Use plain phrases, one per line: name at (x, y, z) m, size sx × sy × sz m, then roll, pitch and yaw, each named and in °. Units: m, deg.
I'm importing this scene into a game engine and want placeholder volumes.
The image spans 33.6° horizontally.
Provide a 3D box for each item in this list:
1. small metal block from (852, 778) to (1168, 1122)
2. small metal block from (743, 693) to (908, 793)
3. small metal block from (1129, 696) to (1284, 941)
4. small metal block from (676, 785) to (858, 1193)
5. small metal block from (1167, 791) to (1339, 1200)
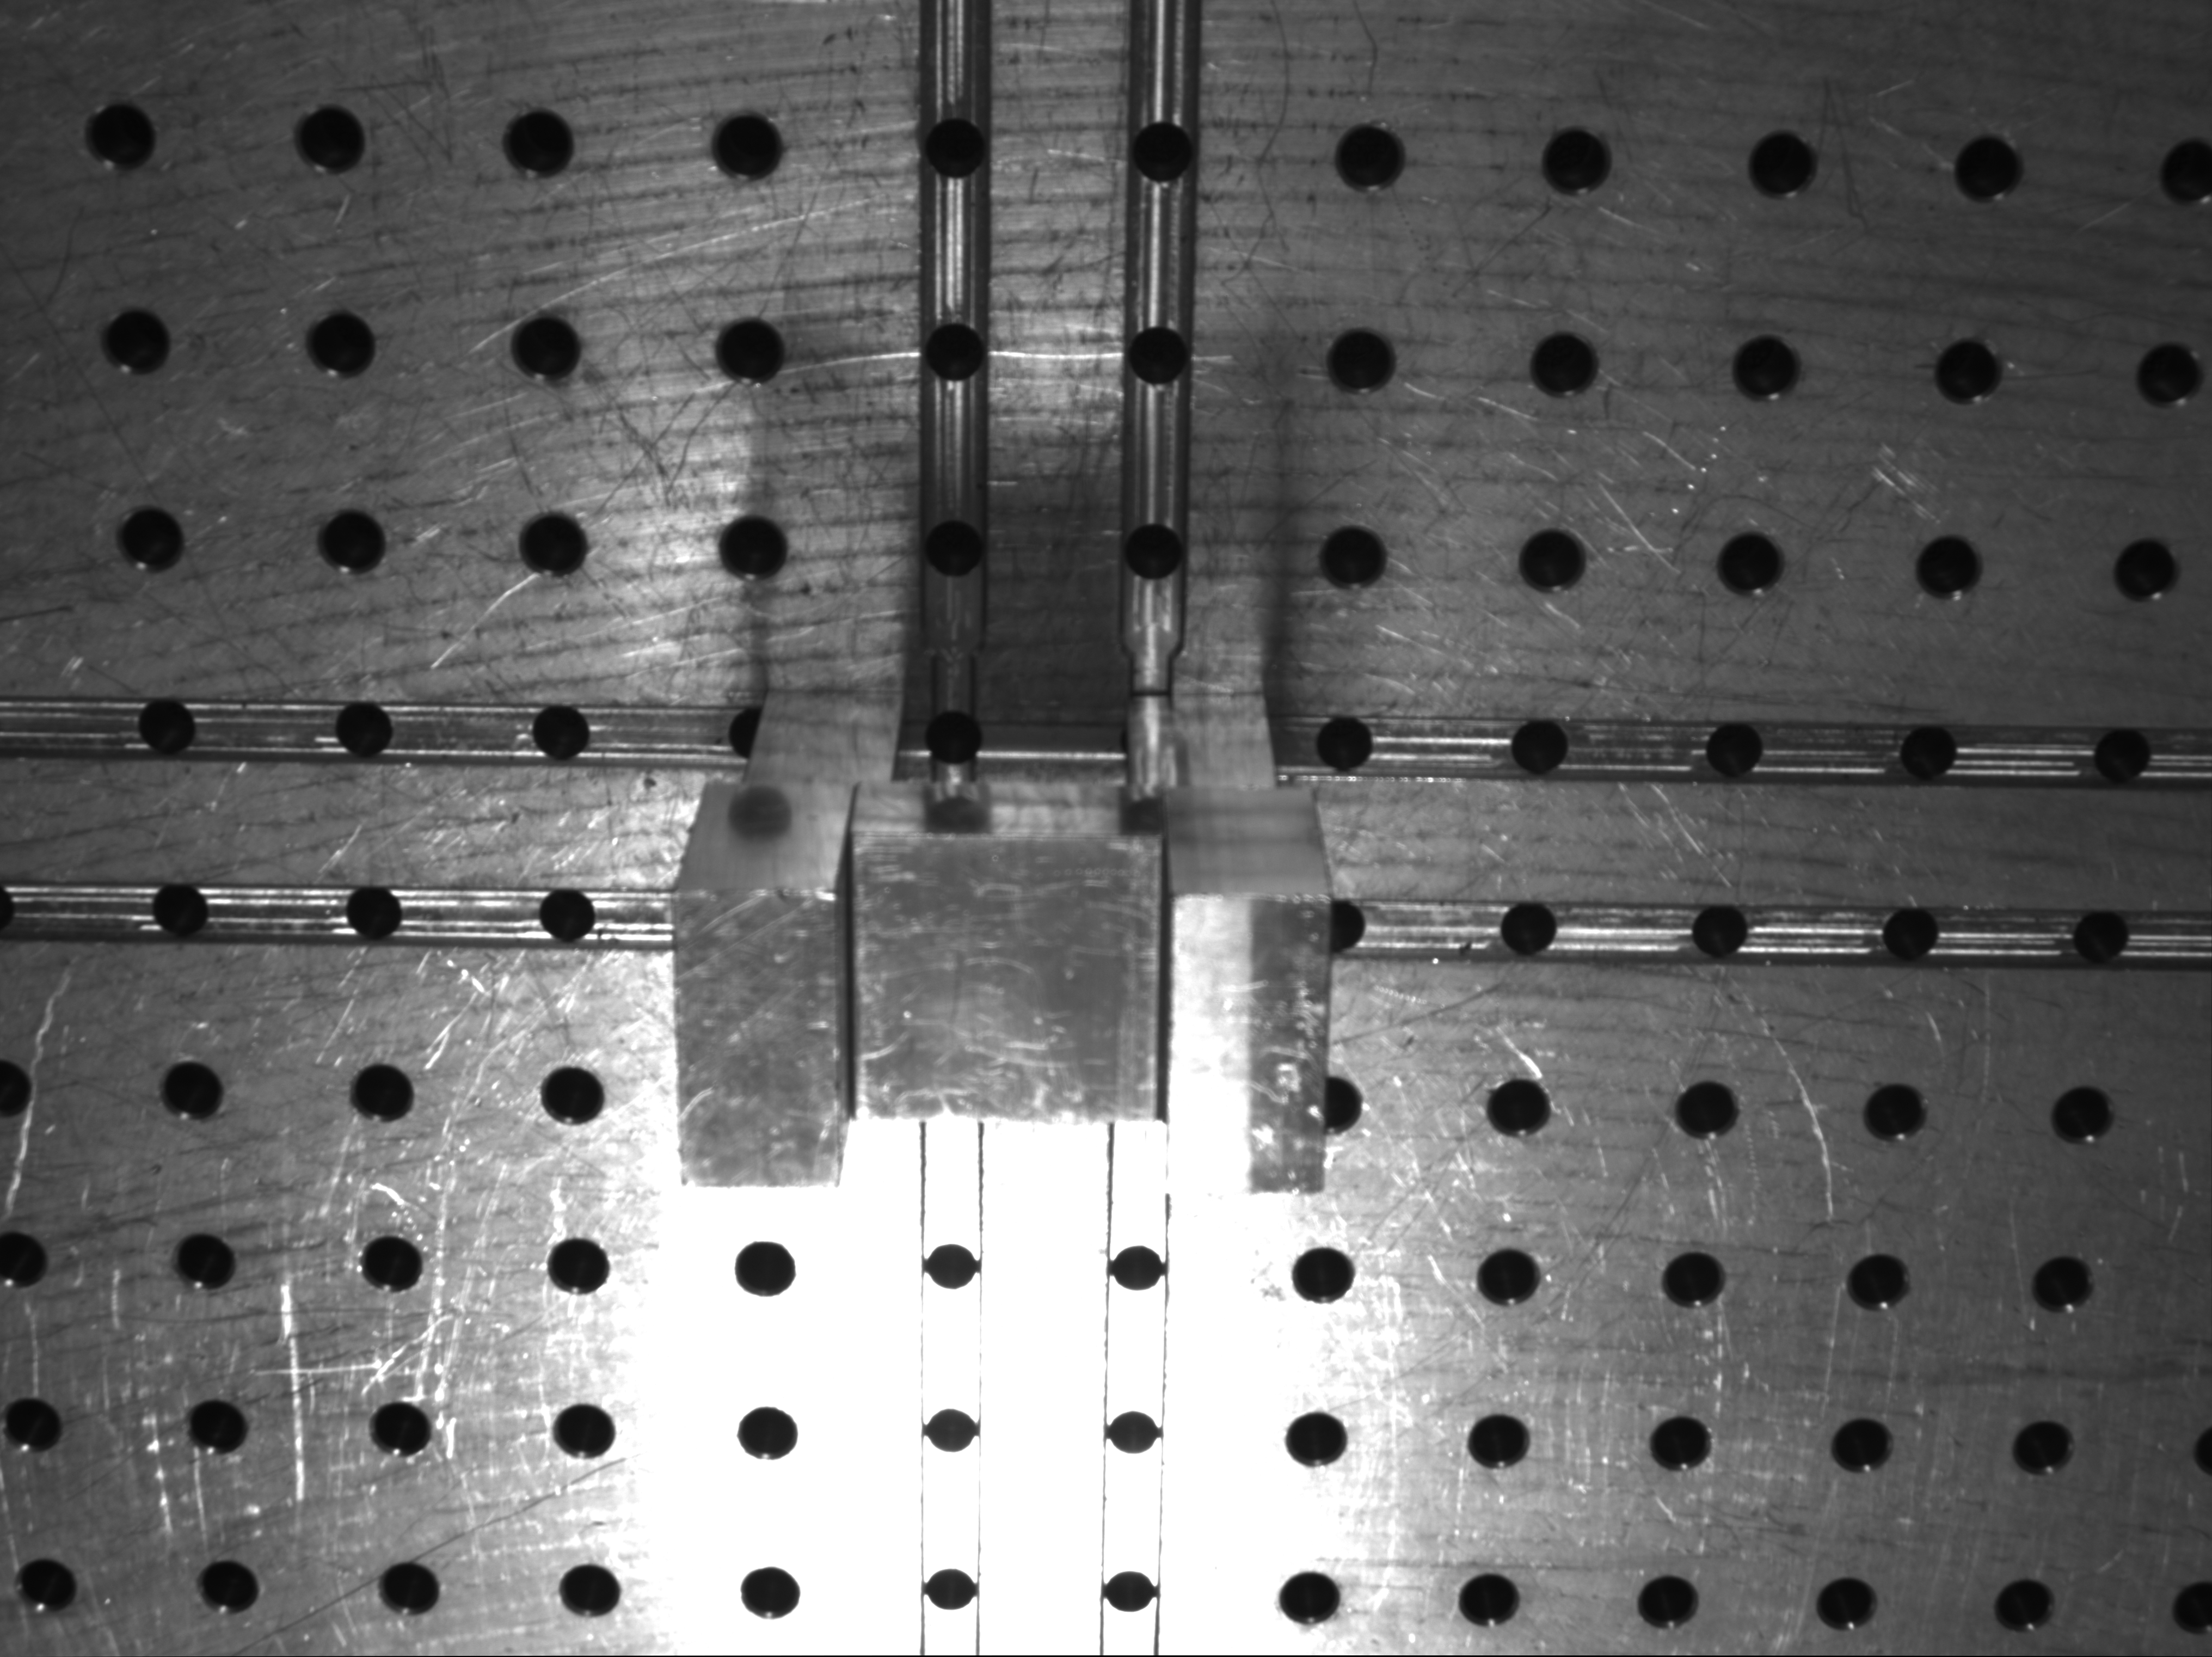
small metal block at (-0.016, 0.020, 0.600) m, size 0.050 × 0.025 × 0.050 m, roll 1°, pitch 110°, yaw -1°
small metal block at (-0.048, 0.008, 0.634) m, size 0.025 × 0.050 × 0.050 m, roll 1°, pitch 110°, yaw -1°
small metal block at (0.017, 0.009, 0.635) m, size 0.025 × 0.050 × 0.050 m, roll -1°, pitch 110°, yaw 0°
small metal block at (-0.053, 0.025, 0.587) m, size 0.025 × 0.050 × 0.050 m, roll 1°, pitch 109°, yaw 0°
small metal block at (0.022, 0.026, 0.587) m, size 0.025 × 0.050 × 0.050 m, roll 1°, pitch 109°, yaw 0°
